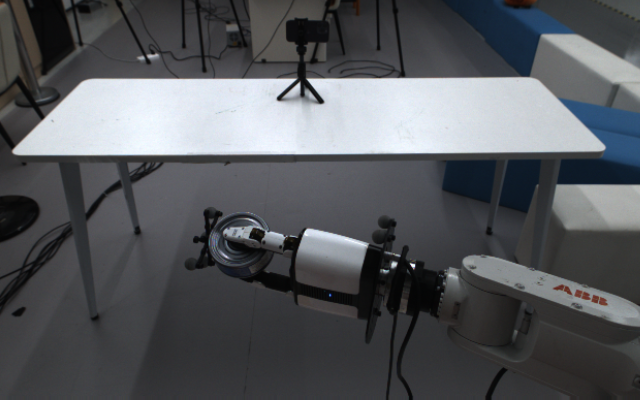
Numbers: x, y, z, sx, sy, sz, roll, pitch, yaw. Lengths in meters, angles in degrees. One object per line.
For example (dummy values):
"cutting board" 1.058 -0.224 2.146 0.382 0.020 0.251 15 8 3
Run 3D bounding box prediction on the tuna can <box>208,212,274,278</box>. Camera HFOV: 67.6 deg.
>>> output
"tuna can" -0.103 0.059 0.652 0.085 0.034 0.085 -2 58 3
